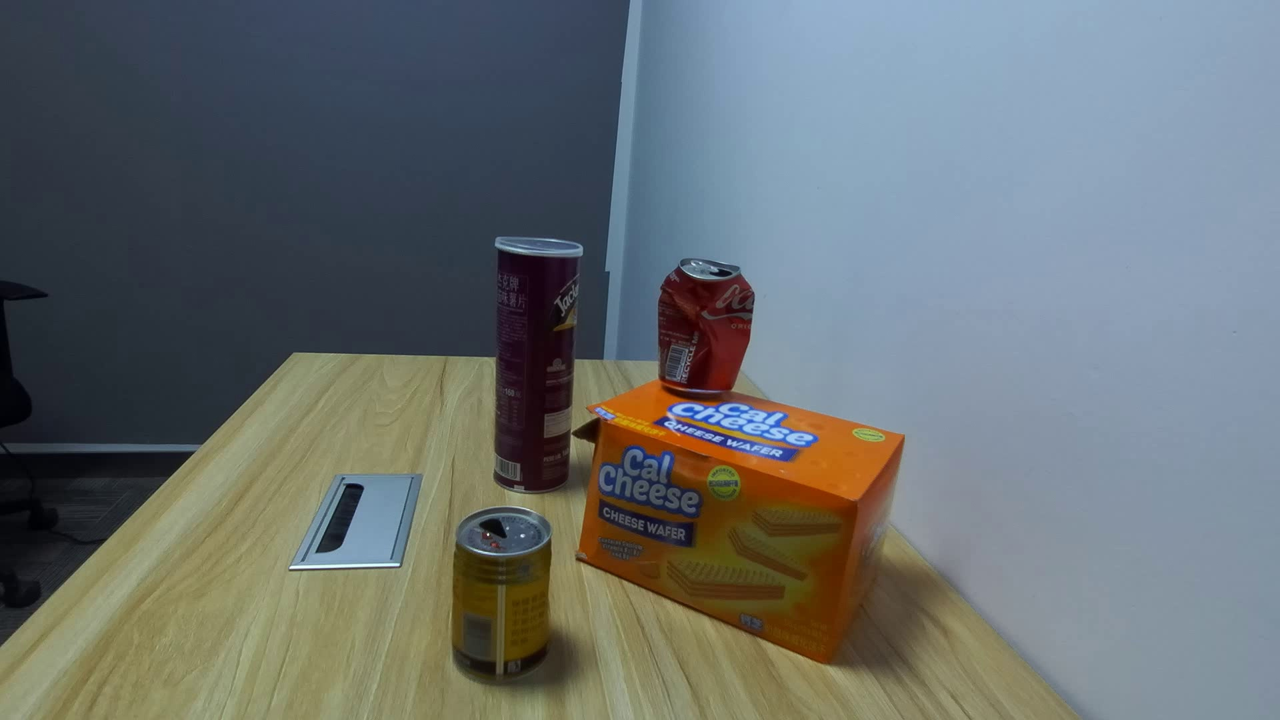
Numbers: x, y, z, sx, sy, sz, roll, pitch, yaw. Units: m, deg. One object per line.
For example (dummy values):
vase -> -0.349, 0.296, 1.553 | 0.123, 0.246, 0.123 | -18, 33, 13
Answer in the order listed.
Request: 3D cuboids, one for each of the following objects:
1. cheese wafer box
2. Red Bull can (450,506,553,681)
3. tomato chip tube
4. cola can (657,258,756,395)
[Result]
cheese wafer box -> 0.078, 0.109, 0.569 | 0.226, 0.137, 0.150 | 14, 19, 29
Red Bull can -> -0.089, 0.151, 0.458 | 0.069, 0.092, 0.069 | 5, 15, -1
tomato chip tube -> -0.101, 0.006, 0.686 | 0.078, 0.233, 0.078 | 4, 16, -1
cola can -> 0.052, -0.028, 0.599 | 0.066, 0.112, 0.069 | -12, 26, -39
